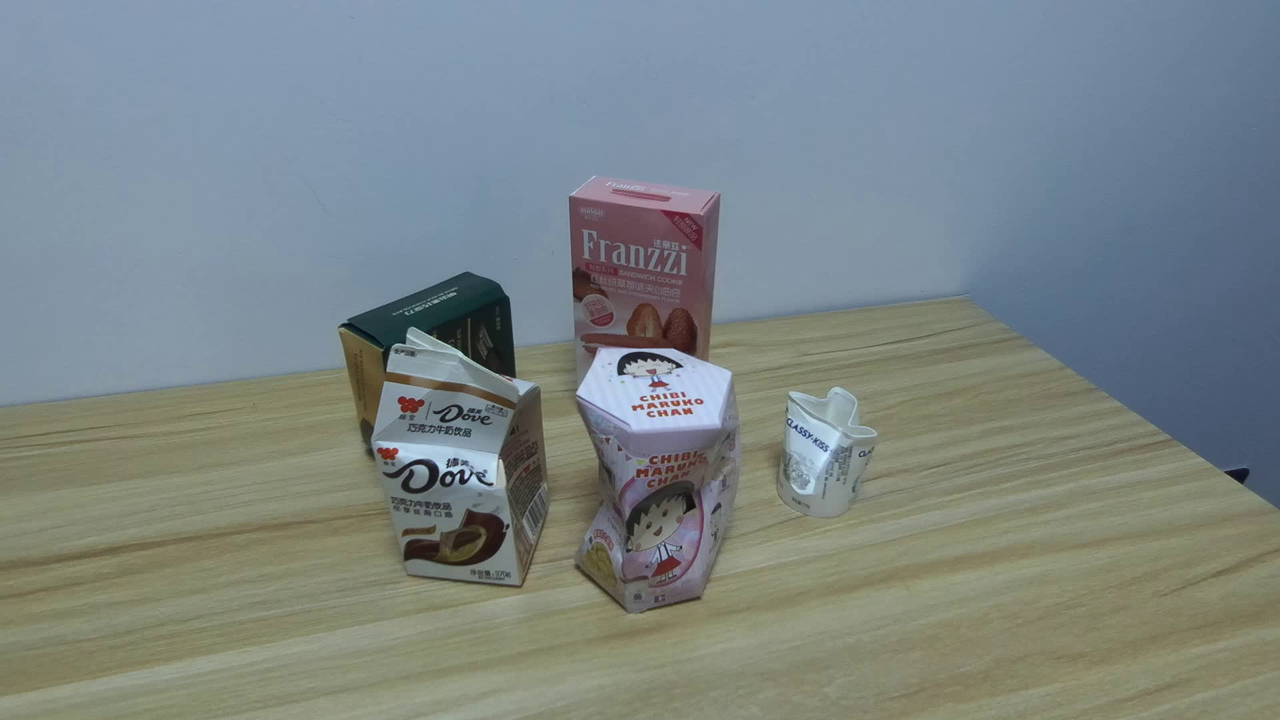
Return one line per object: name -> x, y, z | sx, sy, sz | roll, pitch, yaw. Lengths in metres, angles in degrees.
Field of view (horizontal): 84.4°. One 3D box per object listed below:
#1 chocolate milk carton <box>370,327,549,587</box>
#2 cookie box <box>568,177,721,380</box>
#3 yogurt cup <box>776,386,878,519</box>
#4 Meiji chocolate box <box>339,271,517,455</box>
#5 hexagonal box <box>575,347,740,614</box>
chocolate milk carton -> -0.101, 0.051, 0.413 | 0.076, 0.156, 0.073 | 5, 33, 5
cookie box -> 0.003, -0.035, 0.524 | 0.096, 0.185, 0.048 | 11, 33, 16
yogurt cup -> 0.126, 0.063, 0.478 | 0.055, 0.072, 0.054 | -1, 32, -8
Meiji chocolate box -> -0.152, 0.006, 0.526 | 0.058, 0.116, 0.123 | 27, 40, 34
hexagonal box -> 0.004, 0.069, 0.406 | 0.093, 0.135, 0.089 | 25, 38, 33
